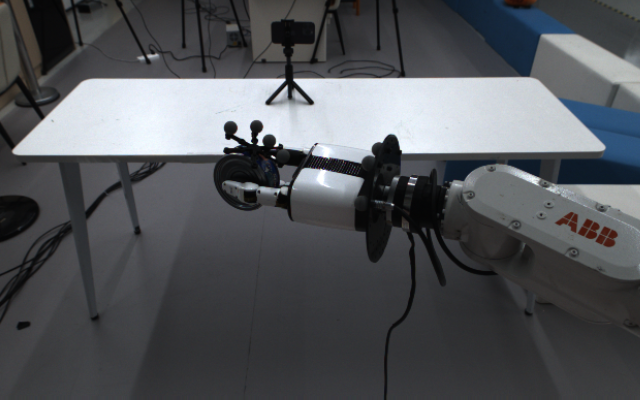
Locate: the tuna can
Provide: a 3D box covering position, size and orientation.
[{"bbox_3d":[-0.096,-0.023,0.649,0.085,0.085,0.034,15,31,18],"label":"tuna can"}]
